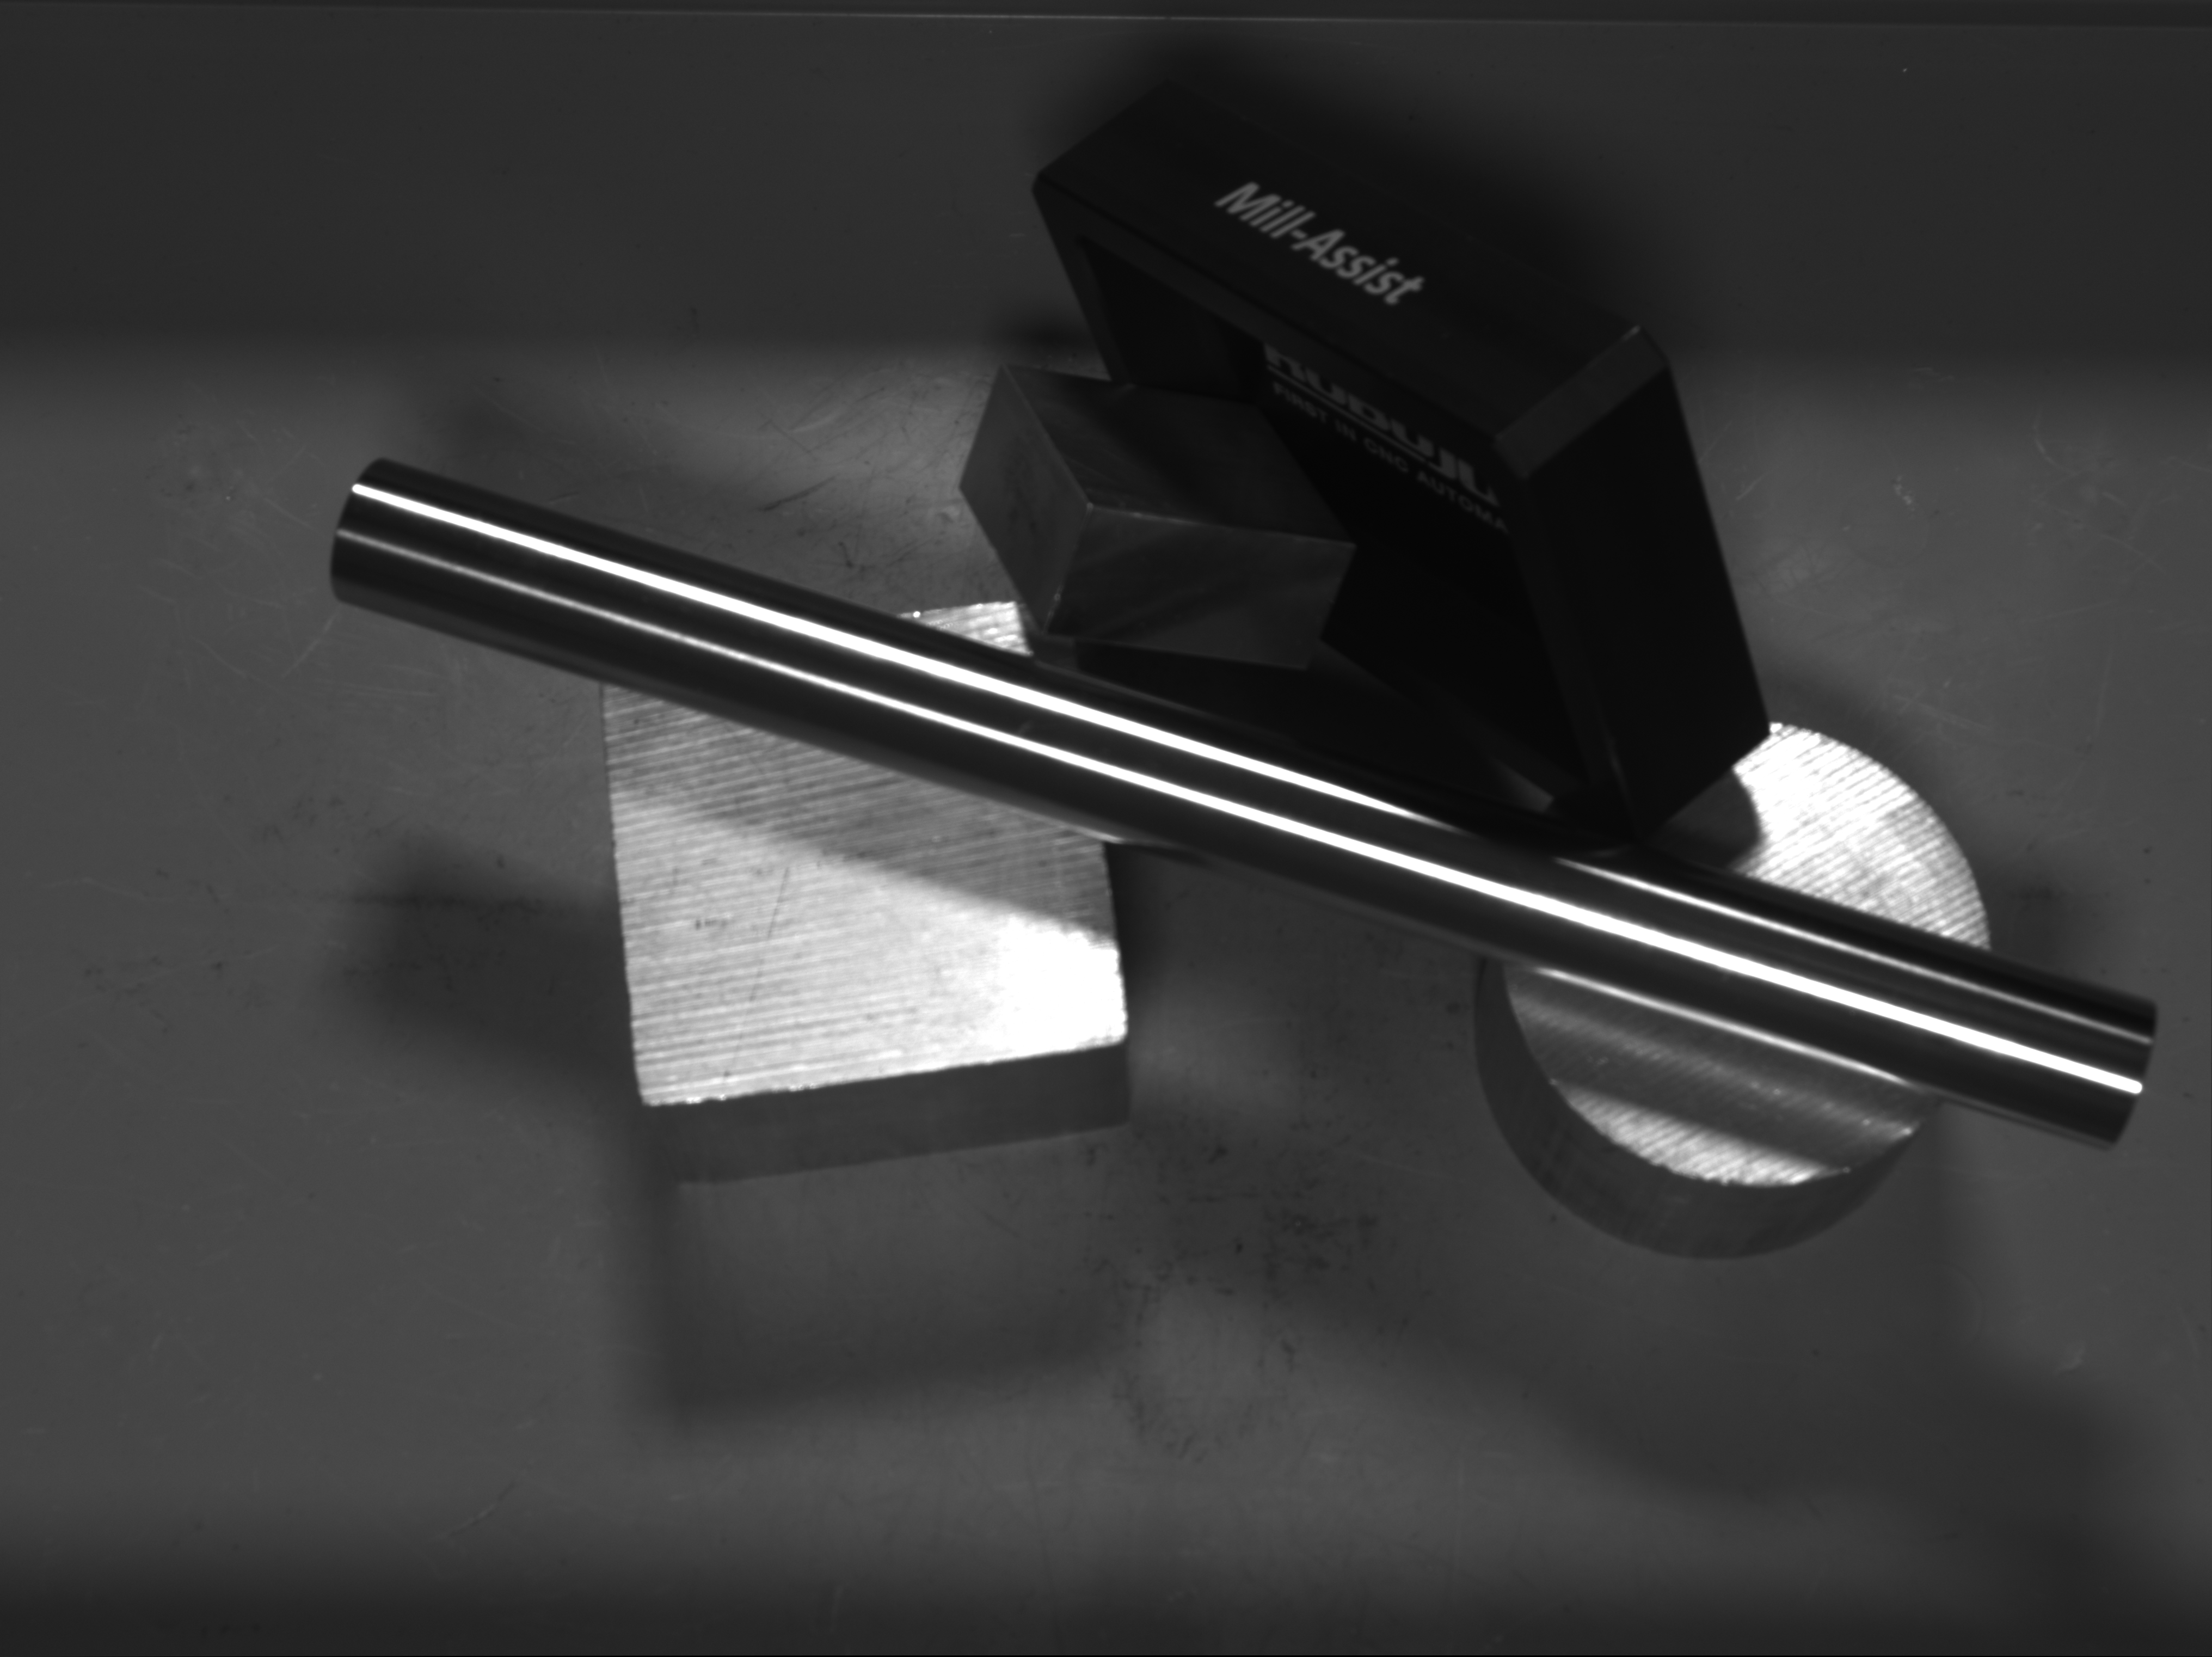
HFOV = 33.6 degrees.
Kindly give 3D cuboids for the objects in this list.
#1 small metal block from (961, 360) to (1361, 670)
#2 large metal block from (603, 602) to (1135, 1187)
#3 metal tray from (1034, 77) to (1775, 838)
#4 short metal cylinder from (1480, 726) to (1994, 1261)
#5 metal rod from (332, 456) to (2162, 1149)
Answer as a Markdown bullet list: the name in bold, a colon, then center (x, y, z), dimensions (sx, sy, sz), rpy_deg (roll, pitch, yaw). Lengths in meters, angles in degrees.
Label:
- **small metal block**: center (0.009, -0.054, 0.628), dimensions (0.050, 0.025, 0.050), rpy_deg (6, 31, -26)
- **large metal block**: center (-0.040, 0.012, 0.627), dimensions (0.080, 0.050, 0.080), rpy_deg (-7, 70, -3)
- **metal tray**: center (0.048, -0.062, 0.606), dimensions (0.030, 0.090, 0.130), rpy_deg (-39, 44, -14)
- **short metal cylinder**: center (0.105, 0.028, 0.620), dimensions (0.080, 0.050, 0.080), rpy_deg (0, 70, 0)
- **metal rod**: center (0.019, -0.006, 0.592), dimensions (0.300, 0.025, 0.025), rpy_deg (17, 71, 6)
